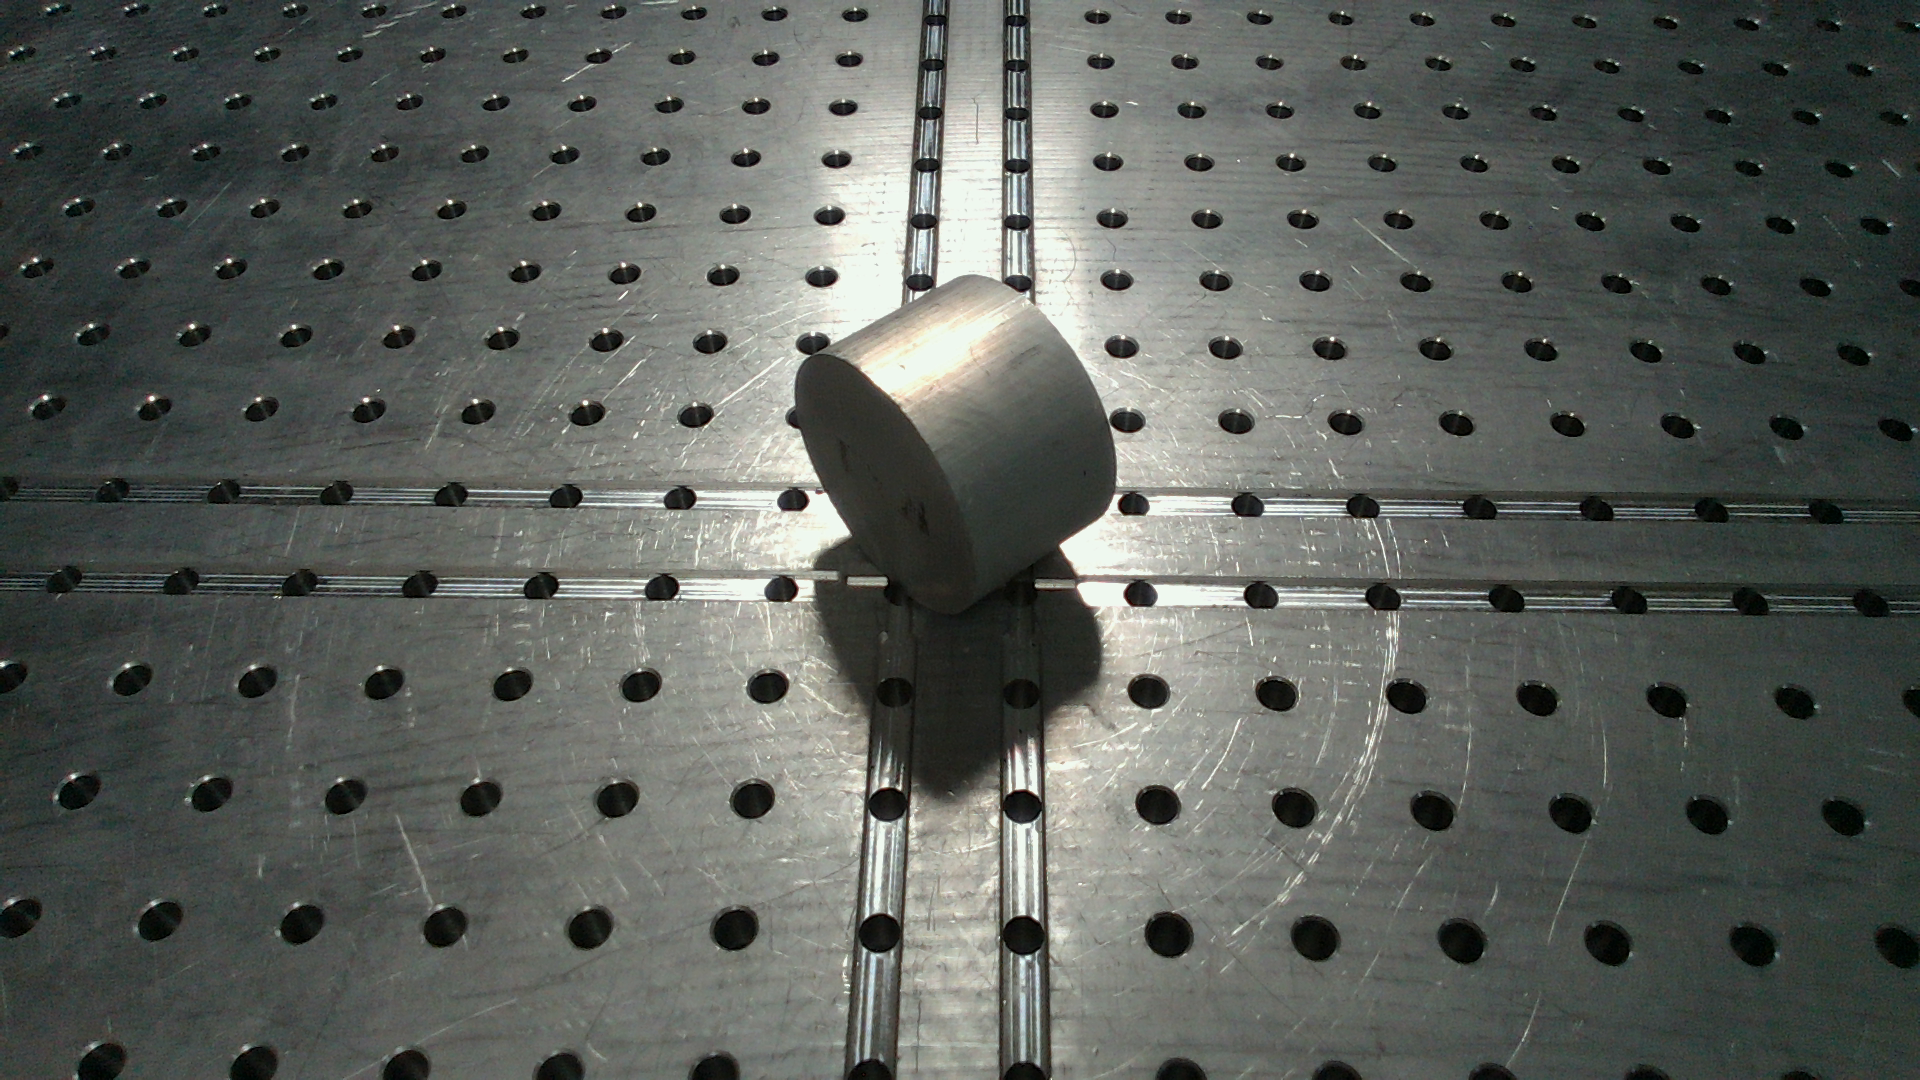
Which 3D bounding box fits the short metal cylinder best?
[{"bbox_3d":[-0.002,-0.027,0.381,0.050,0.080,0.080,-33,57,-24],"label":"short metal cylinder"}]
